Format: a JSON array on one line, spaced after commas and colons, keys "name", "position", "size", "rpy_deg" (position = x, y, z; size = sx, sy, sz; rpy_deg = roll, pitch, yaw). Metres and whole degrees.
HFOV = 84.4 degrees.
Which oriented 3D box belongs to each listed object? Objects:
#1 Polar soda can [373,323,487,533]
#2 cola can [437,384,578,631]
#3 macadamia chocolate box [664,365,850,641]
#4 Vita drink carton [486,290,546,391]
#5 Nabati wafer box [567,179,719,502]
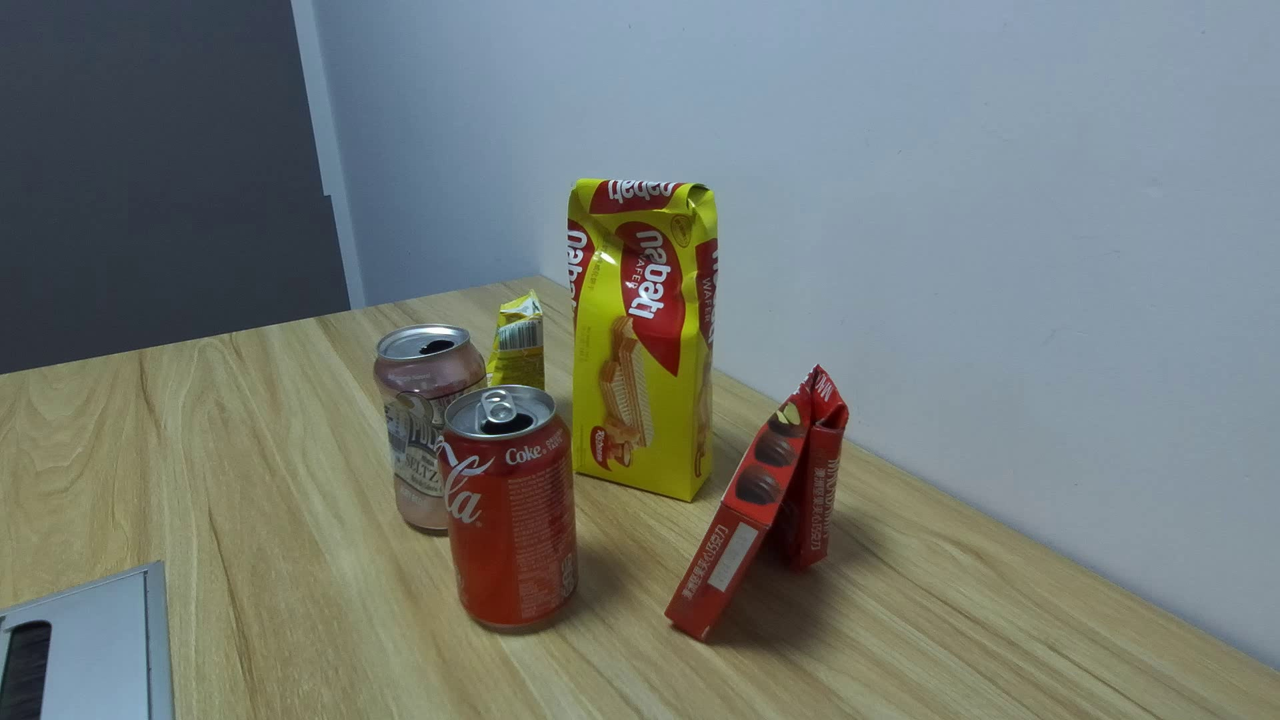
[{"name": "Polar soda can", "position": [-0.128, 0.045, 0.449], "size": [0.067, 0.122, 0.074], "rpy_deg": [-7, 23, -11]}, {"name": "cola can", "position": [-0.068, 0.075, 0.371], "size": [0.068, 0.120, 0.068], "rpy_deg": [0, 25, 0]}, {"name": "macadamia chocolate box", "position": [0.067, 0.075, 0.375], "size": [0.056, 0.112, 0.127], "rpy_deg": [17, 29, 31]}, {"name": "Vita drink carton", "position": [-0.097, 0.007, 0.537], "size": [0.046, 0.110, 0.071], "rpy_deg": [-5, 24, -15]}, {"name": "Nabati wafer box", "position": [0.000, -0.012, 0.461], "size": [0.113, 0.205, 0.043], "rpy_deg": [9, 24, 24]}]
